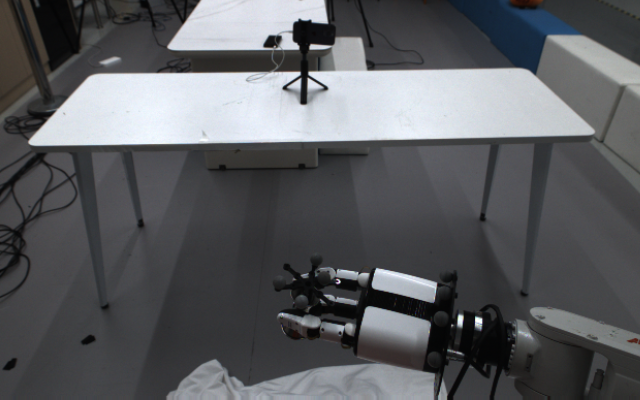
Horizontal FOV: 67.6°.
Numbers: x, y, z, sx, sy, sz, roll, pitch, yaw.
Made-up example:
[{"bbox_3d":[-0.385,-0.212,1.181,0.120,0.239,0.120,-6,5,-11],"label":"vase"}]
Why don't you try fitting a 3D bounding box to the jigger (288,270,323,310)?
[{"bbox_3d":[-0.026,0.149,0.653,0.043,0.071,0.043,10,36,-7],"label":"jigger"}]
